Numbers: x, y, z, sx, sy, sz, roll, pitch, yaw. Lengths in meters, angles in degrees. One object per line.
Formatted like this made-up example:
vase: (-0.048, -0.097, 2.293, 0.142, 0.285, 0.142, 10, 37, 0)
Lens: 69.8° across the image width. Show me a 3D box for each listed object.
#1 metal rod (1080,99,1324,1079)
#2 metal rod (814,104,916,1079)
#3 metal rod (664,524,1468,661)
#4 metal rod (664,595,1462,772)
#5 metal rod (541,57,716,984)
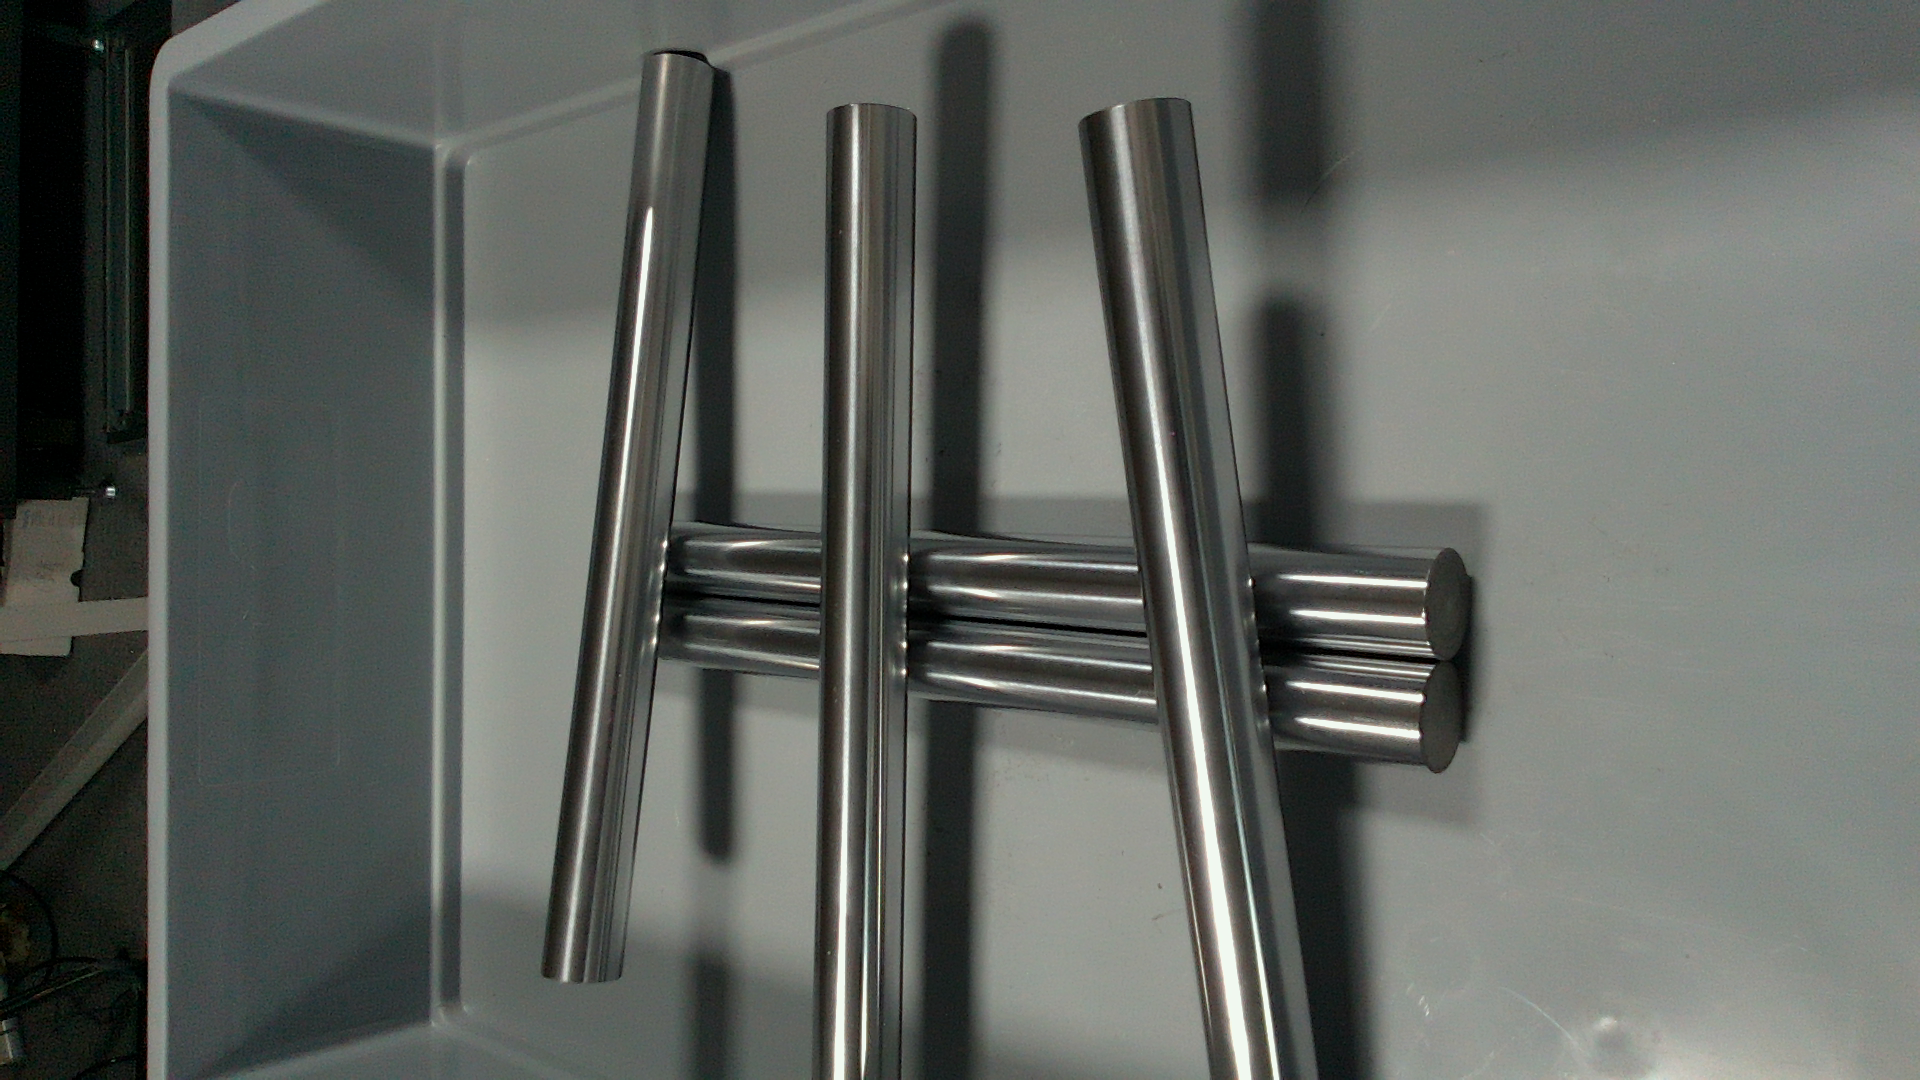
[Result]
metal rod: (0.061, 0.055, 0.313, 0.025, 0.025, 0.300, -5, 95, 40)
metal rod: (-0.027, 0.033, 0.384, 0.025, 0.025, 0.300, 2, 91, 40)
metal rod: (-0.007, 0.010, 0.400, 0.299, 0.025, 0.025, 2, 92, 40)
metal rod: (-0.008, 0.034, 0.401, 0.299, 0.025, 0.025, 2, 92, 40)
metal rod: (-0.108, -0.011, 0.453, 0.025, 0.025, 0.300, -1, 81, 40)
